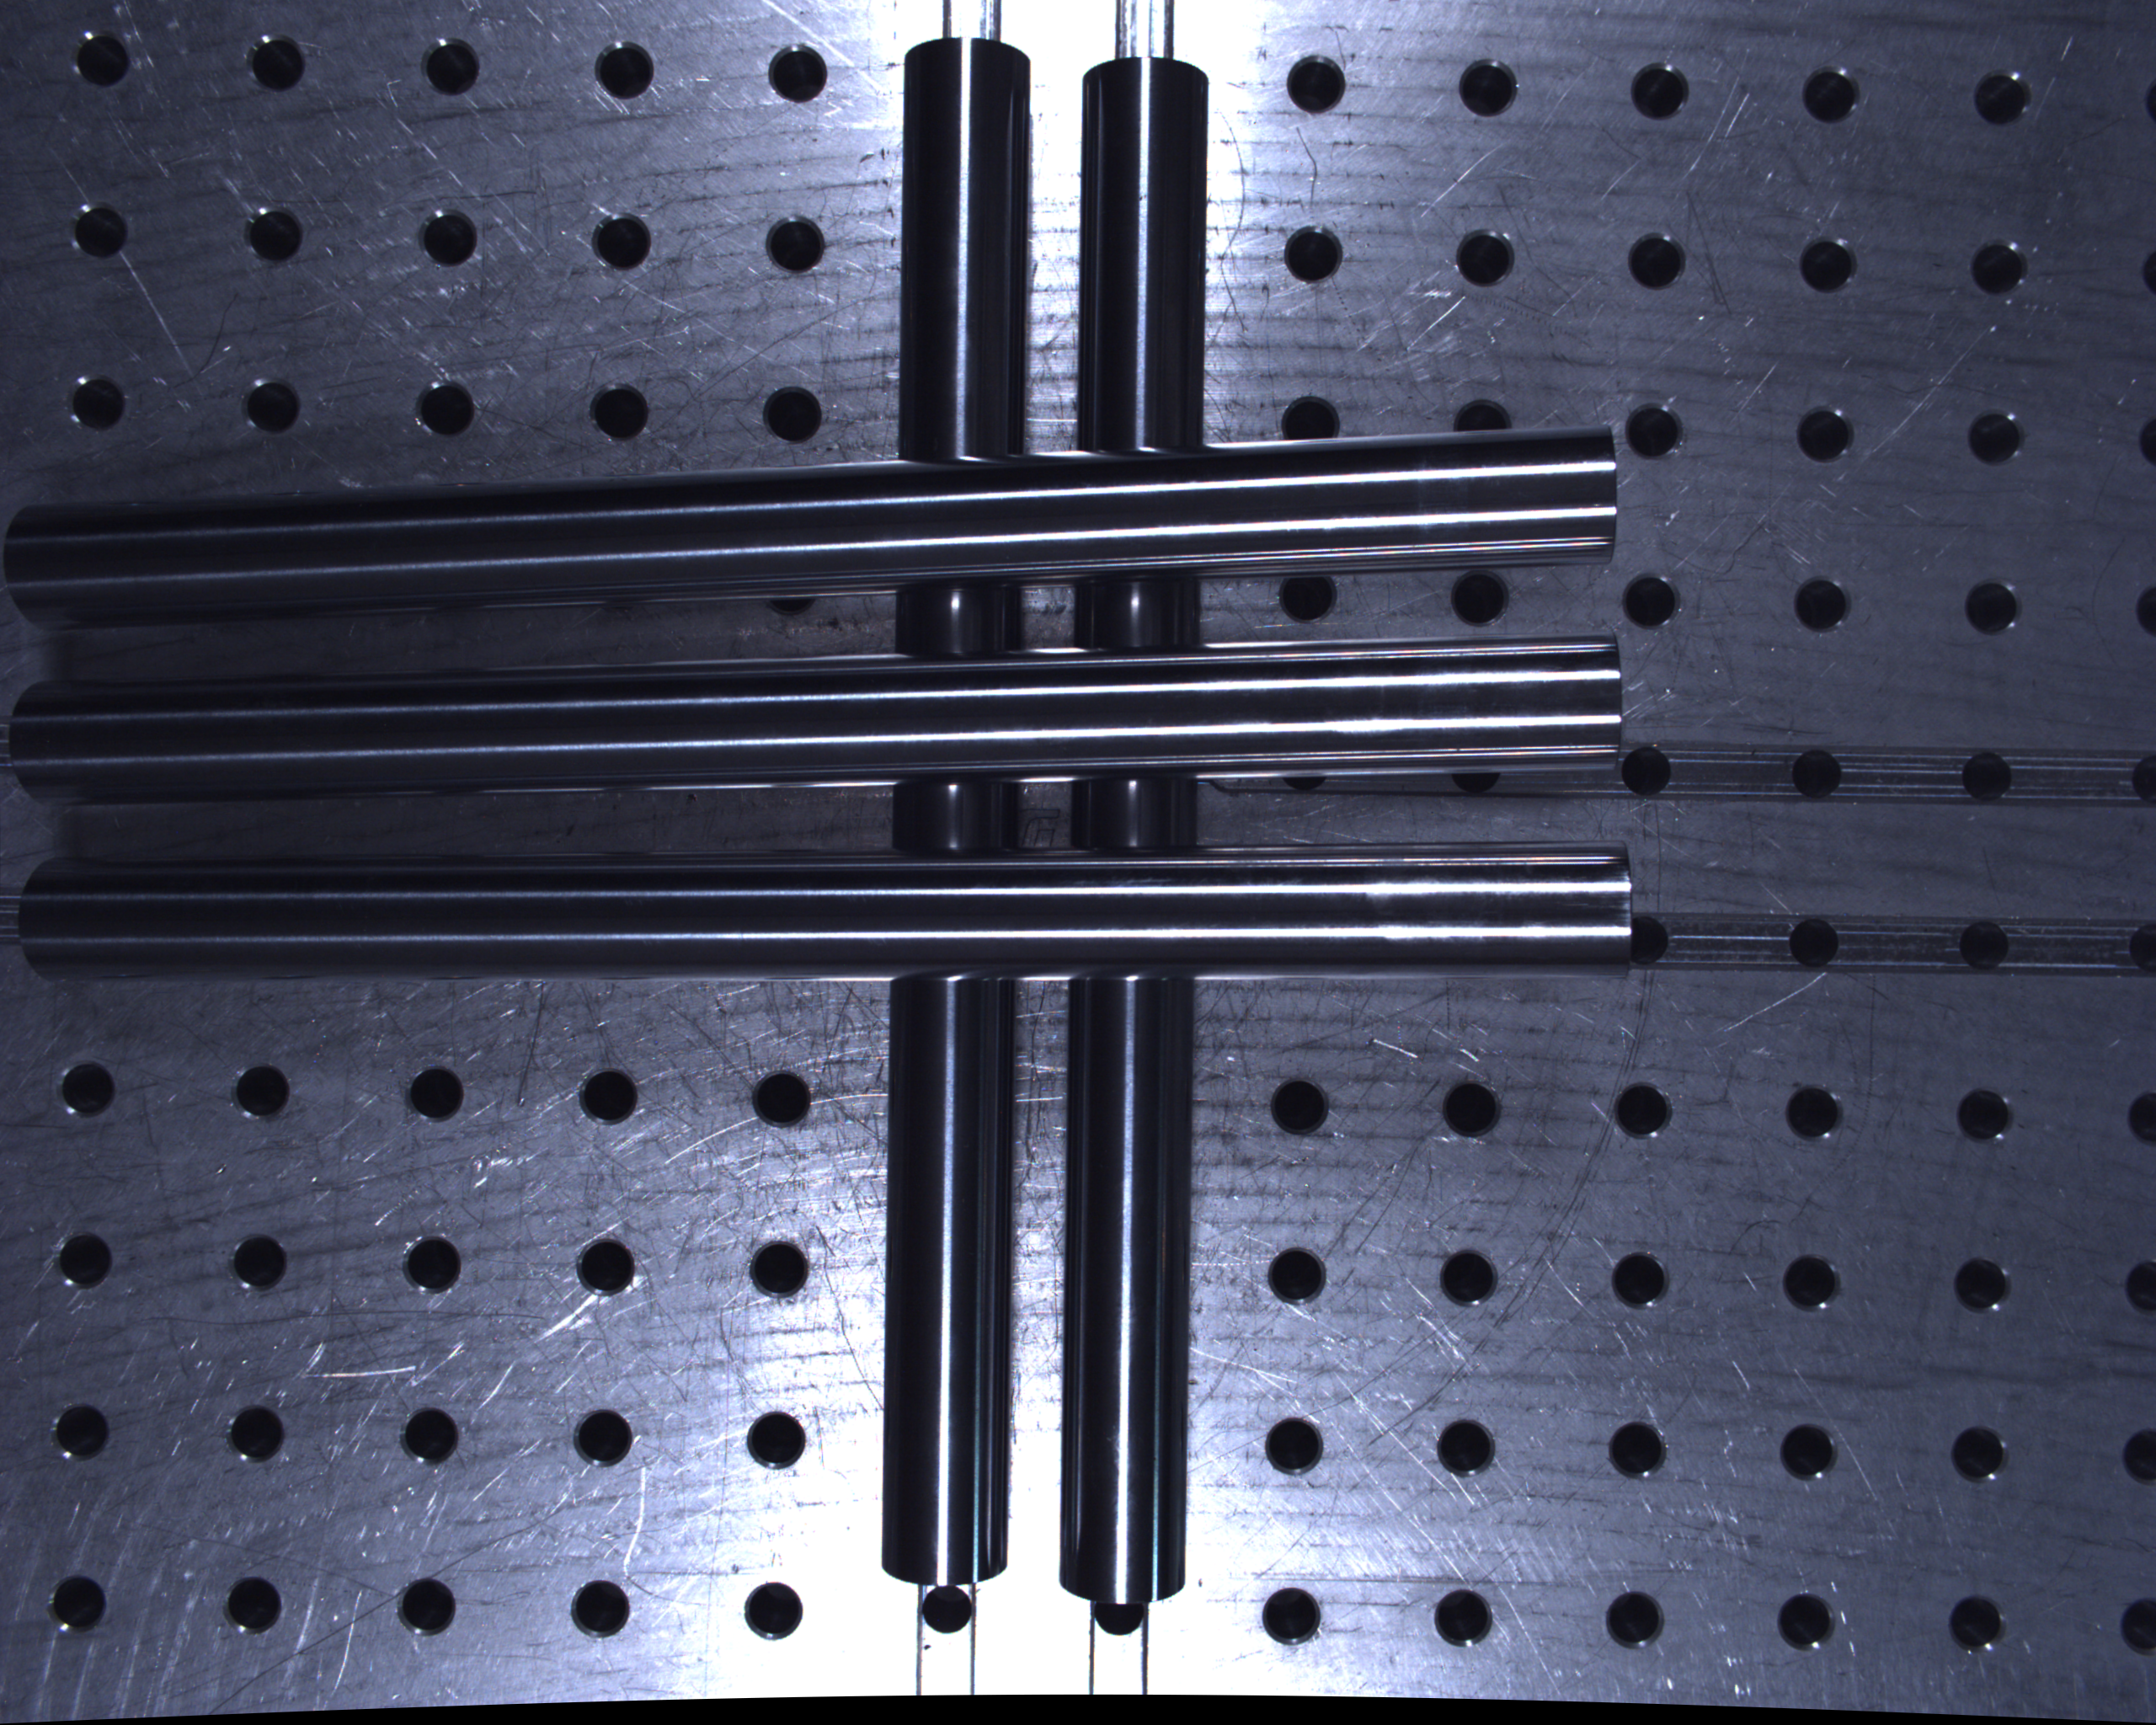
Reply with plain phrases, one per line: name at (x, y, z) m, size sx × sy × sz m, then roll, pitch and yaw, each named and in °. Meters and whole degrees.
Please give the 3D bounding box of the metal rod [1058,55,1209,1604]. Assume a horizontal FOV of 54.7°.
metal rod at (0.011, -0.006, 0.414) m, size 0.025 × 0.025 × 0.298 m, roll 1°, pitch 90°, yaw -1°

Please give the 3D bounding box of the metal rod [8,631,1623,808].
metal rod at (-0.054, -0.026, 0.392) m, size 0.302 × 0.025 × 0.025 m, roll -1°, pitch 90°, yaw 7°

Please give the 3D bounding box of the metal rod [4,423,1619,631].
metal rod at (-0.054, -0.062, 0.392) m, size 0.302 × 0.025 × 0.025 m, roll -1°, pitch 90°, yaw 7°

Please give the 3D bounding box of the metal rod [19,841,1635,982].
metal rod at (-0.052, 0.010, 0.392) m, size 0.302 × 0.025 × 0.025 m, roll 0°, pitch 90°, yaw 8°

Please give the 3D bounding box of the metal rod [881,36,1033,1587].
metal rod at (-0.024, -0.010, 0.413) m, size 0.025 × 0.025 × 0.298 m, roll 1°, pitch 90°, yaw -1°
